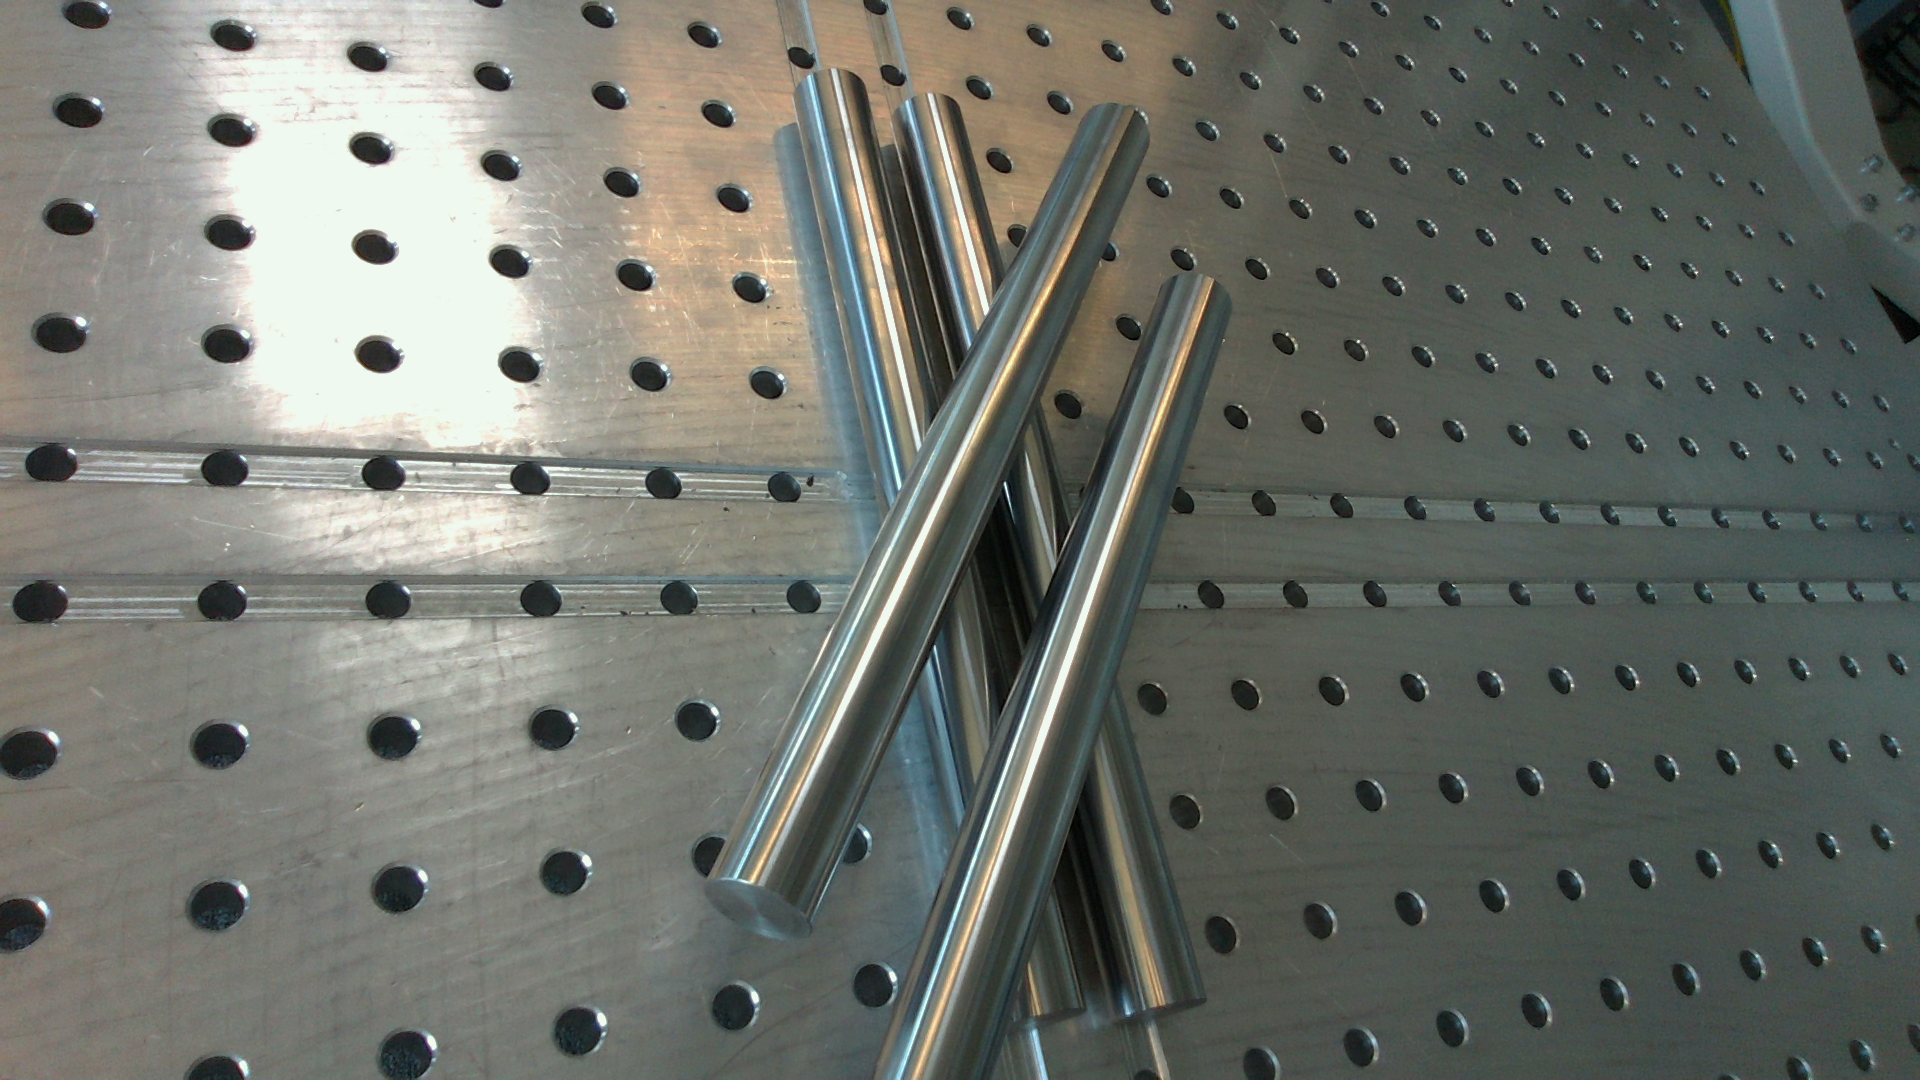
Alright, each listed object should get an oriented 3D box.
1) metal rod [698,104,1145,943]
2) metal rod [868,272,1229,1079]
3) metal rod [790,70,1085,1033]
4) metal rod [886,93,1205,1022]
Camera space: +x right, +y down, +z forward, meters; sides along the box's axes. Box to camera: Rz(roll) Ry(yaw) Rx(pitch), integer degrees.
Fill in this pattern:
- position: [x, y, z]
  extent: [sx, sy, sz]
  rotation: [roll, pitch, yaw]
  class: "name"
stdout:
- position: [0.004, -0.030, 0.382]
  extent: [0.025, 0.025, 0.301]
  rotation: [30, 52, -9]
  class: "metal rod"
- position: [0.029, 0.032, 0.356]
  extent: [0.025, 0.025, 0.301]
  rotation: [30, 51, -9]
  class: "metal rod"
- position: [-0.013, -0.016, 0.396]
  extent: [0.025, 0.025, 0.300]
  rotation: [1, 61, -28]
  class: "metal rod"
- position: [0.018, -0.013, 0.411]
  extent: [0.025, 0.025, 0.300]
  rotation: [1, 61, -28]
  class: "metal rod"
